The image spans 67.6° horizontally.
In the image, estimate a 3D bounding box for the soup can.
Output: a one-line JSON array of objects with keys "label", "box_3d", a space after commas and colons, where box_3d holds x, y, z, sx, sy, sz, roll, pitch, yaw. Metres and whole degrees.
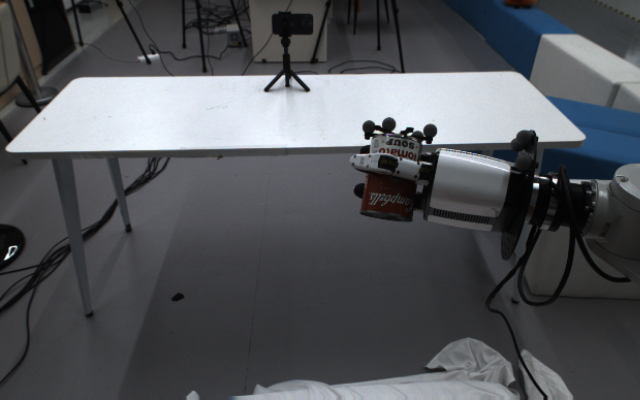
[{"label": "soup can", "box_3d": [0.092, -0.027, 0.618, 0.067, 0.101, 0.067, 9, -6, 1]}]
